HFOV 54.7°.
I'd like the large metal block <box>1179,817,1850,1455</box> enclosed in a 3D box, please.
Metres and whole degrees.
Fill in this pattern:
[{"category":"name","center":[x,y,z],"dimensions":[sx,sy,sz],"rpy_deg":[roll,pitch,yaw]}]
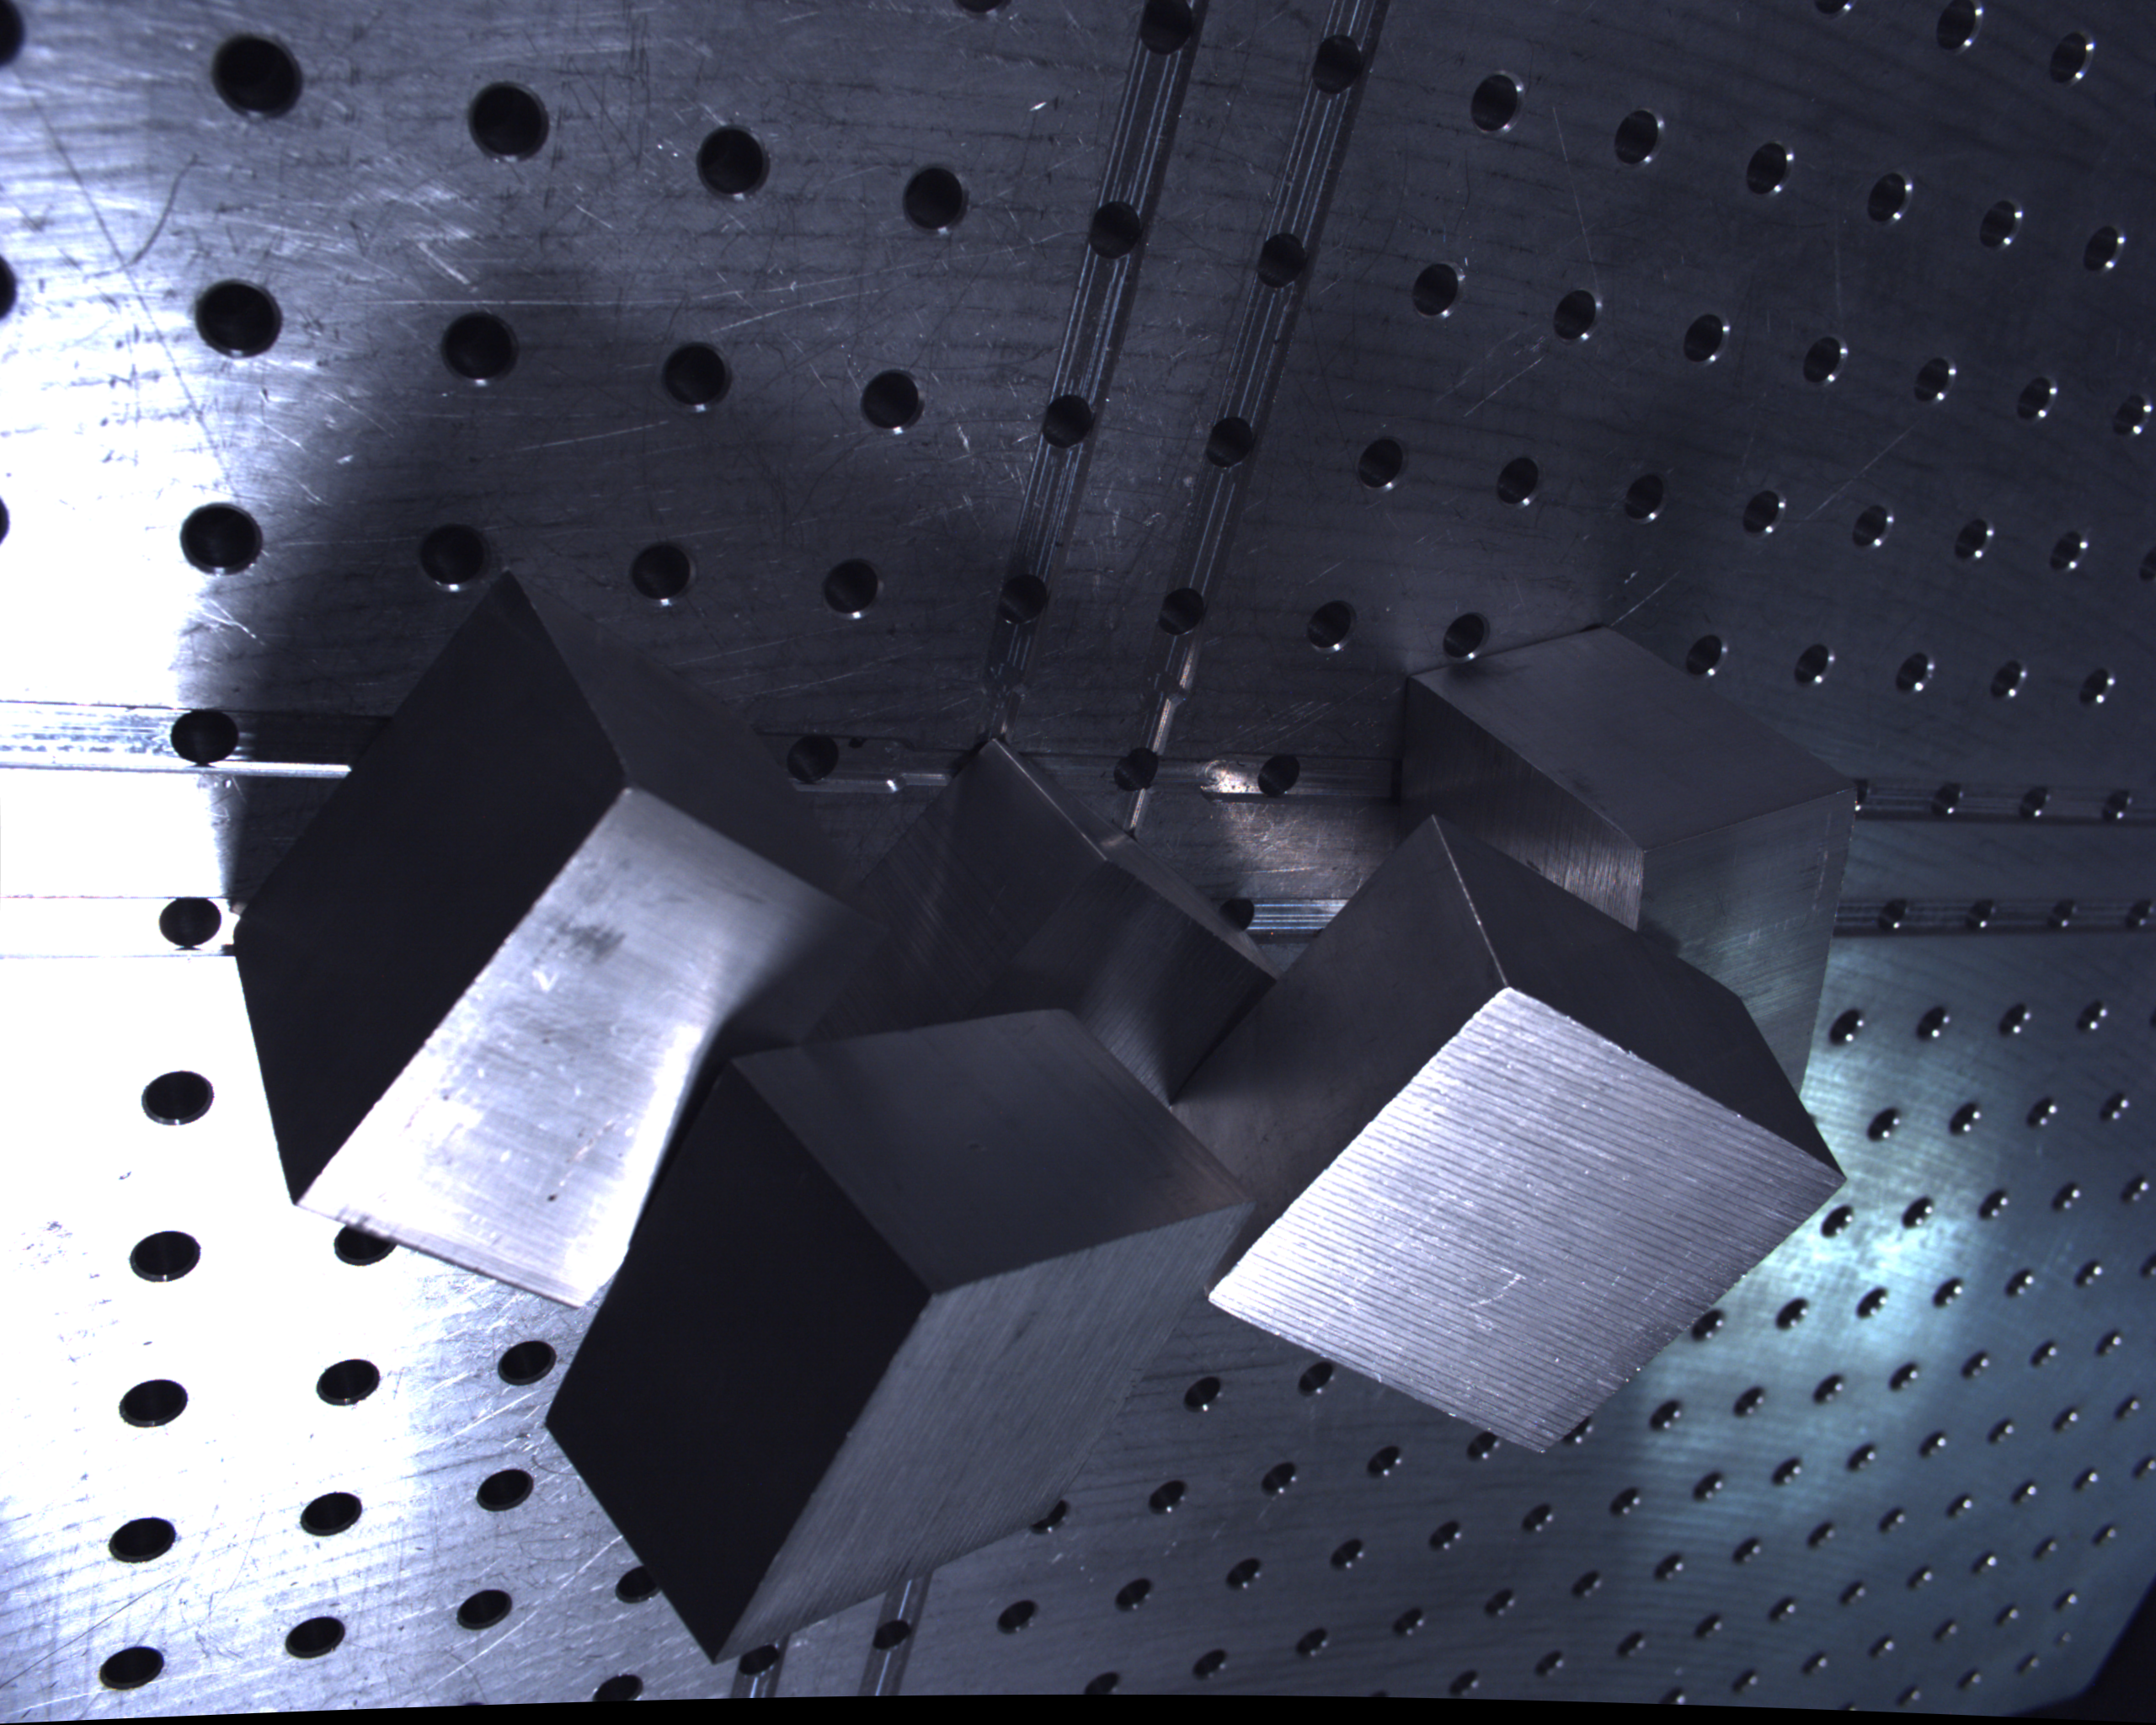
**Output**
[{"category":"large metal block","center":[0.074,0.051,0.379],"dimensions":[0.080,0.050,0.080],"rpy_deg":[29,116,-23]}]

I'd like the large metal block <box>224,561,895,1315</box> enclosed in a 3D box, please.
[{"category":"large metal block","center":[-0.087,0.010,0.335],"dimensions":[0.050,0.080,0.080],"rpy_deg":[34,99,-39]}]

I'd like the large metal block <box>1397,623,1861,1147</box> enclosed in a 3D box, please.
[{"category":"large metal block","center":[0.111,0.006,0.442],"dimensions":[0.050,0.080,0.079],"rpy_deg":[-15,125,-20]}]

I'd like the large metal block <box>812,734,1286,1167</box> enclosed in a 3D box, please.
[{"category":"large metal block","center":[-0.007,0.035,0.414],"dimensions":[0.080,0.050,0.080],"rpy_deg":[-49,129,6]}]

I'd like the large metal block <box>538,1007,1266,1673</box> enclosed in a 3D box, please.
[{"category":"large metal block","center":[-0.028,0.074,0.341],"dimensions":[0.081,0.050,0.079],"rpy_deg":[-3,130,-51]}]
